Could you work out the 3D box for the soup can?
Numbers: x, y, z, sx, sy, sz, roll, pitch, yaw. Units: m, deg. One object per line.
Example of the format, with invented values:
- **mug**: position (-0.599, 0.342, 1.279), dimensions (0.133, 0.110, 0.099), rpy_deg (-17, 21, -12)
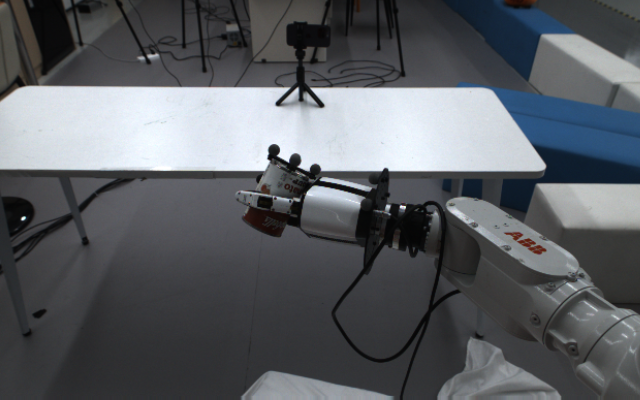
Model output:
- **soup can**: position (-0.068, -0.002, 0.740), dimensions (0.067, 0.101, 0.067), rpy_deg (27, 6, -3)
